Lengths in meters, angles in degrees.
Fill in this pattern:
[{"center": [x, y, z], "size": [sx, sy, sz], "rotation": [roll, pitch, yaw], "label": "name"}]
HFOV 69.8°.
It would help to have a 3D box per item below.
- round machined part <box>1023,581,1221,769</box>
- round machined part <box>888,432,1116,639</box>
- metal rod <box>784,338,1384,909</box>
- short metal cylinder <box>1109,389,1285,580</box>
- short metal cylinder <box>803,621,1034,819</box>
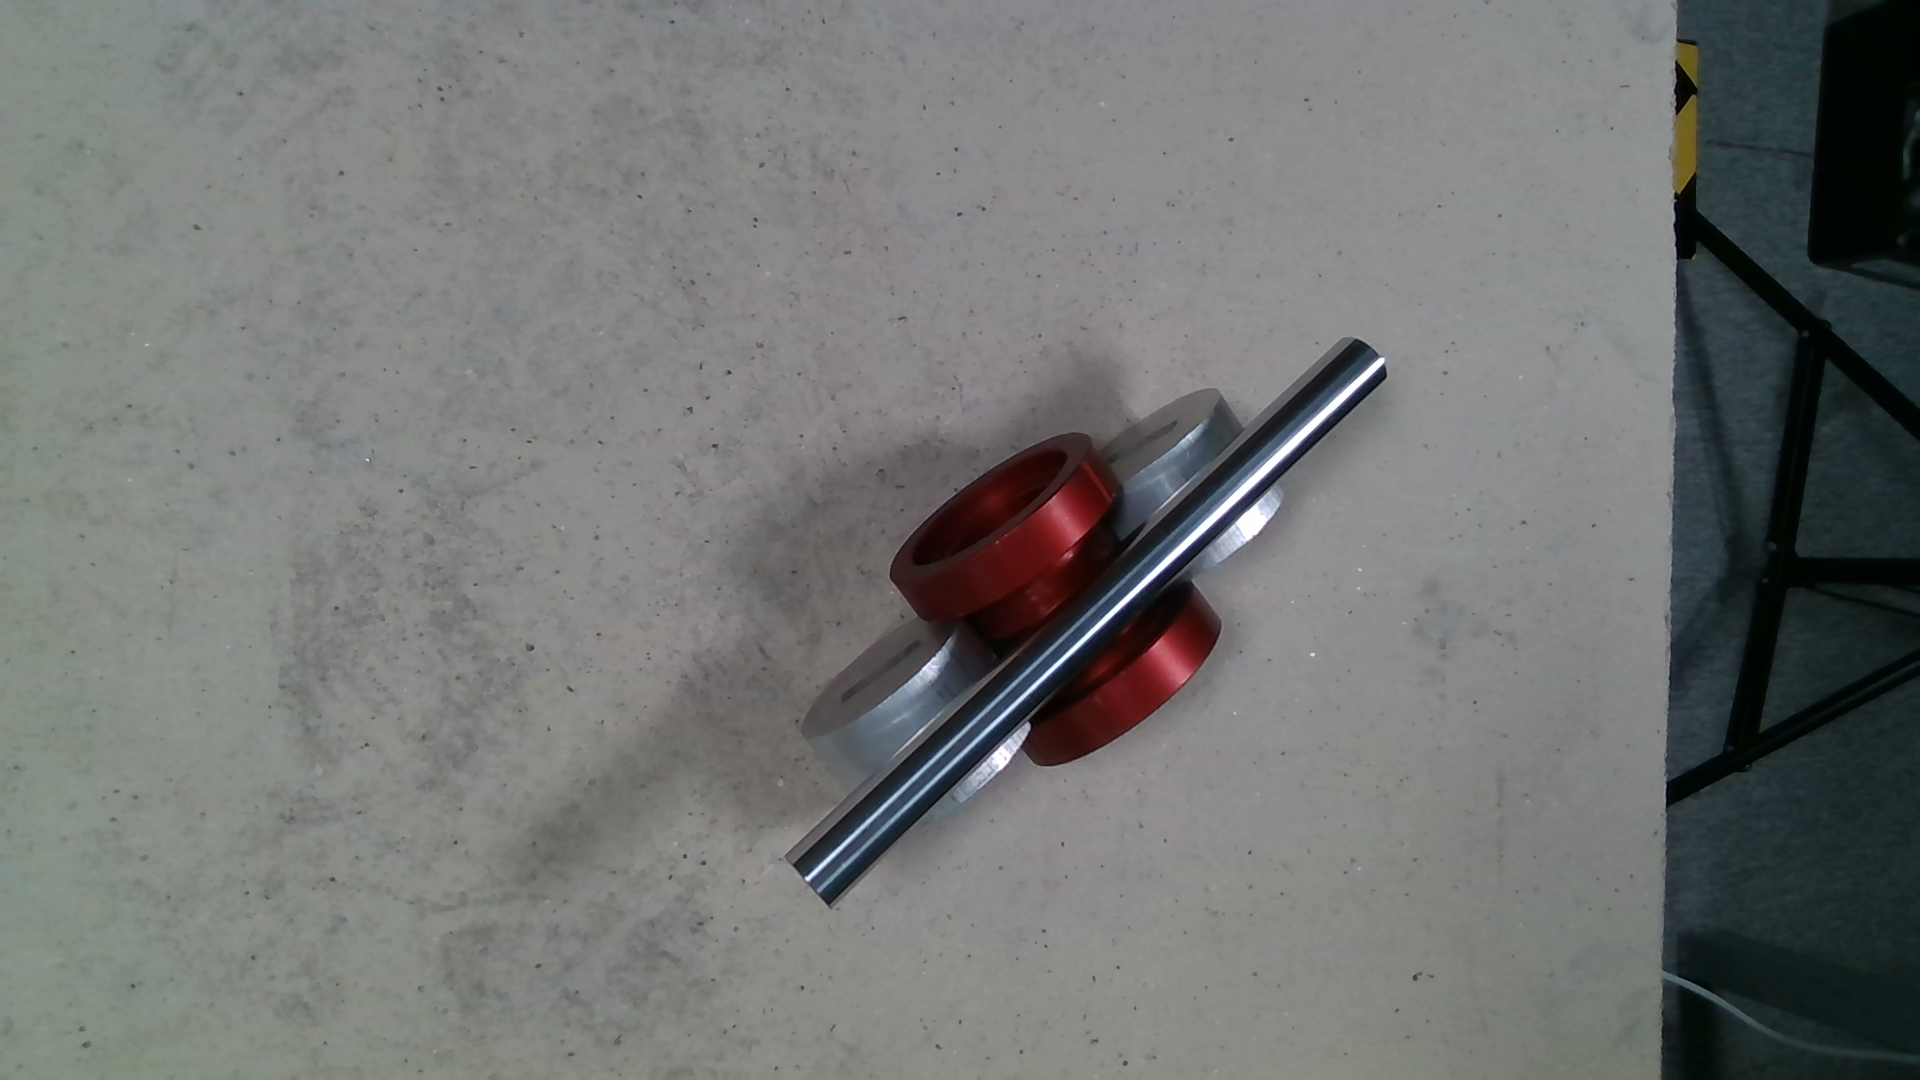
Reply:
[{"center": [0.055, 0.046, 0.568], "size": [0.098, 0.098, 0.042], "rotation": [-41, 98, -16], "label": "round machined part"}, {"center": [0.022, 0.002, 0.554], "size": [0.098, 0.098, 0.042], "rotation": [-41, 107, -16], "label": "round machined part"}, {"center": [0.055, 0.024, 0.522], "size": [0.300, 0.025, 0.025], "rotation": [-42, 103, -15], "label": "metal rod"}, {"center": [0.091, -0.022, 0.590], "size": [0.080, 0.080, 0.050], "rotation": [-41, 103, -16], "label": "short metal cylinder"}, {"center": [-0.017, 0.071, 0.551], "size": [0.080, 0.080, 0.050], "rotation": [-41, 103, -16], "label": "short metal cylinder"}]
